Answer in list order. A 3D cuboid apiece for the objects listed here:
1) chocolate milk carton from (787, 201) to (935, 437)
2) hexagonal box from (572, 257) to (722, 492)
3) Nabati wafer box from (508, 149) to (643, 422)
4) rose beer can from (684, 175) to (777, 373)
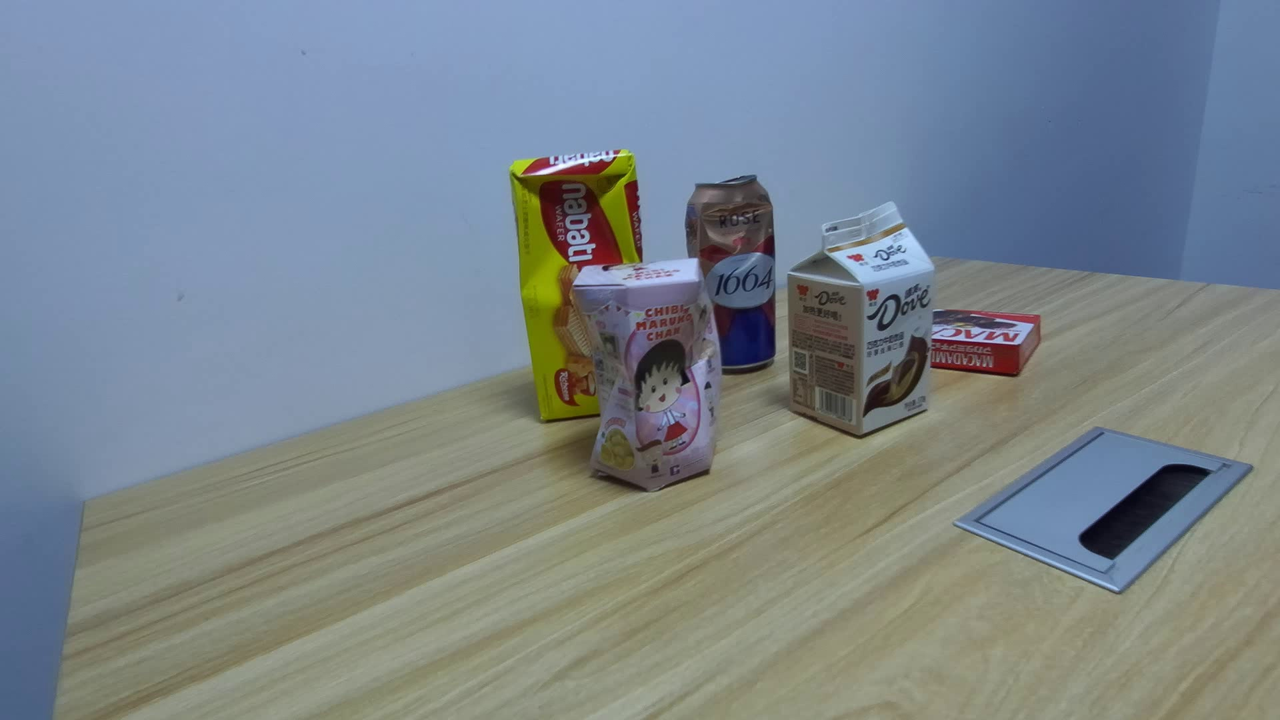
[{"bbox_3d":[0.156,-0.033,0.502,0.076,0.148,0.073,-16,21,-29],"label":"chocolate milk carton"},{"bbox_3d":[0.002,0.008,0.459,0.093,0.135,0.089,5,22,31],"label":"hexagonal box"},{"bbox_3d":[-0.042,-0.055,0.554,0.096,0.203,0.042,-4,16,-1],"label":"Nabati wafer box"},{"bbox_3d":[0.084,-0.076,0.628,0.076,0.167,0.065,-9,18,2],"label":"rose beer can"}]
